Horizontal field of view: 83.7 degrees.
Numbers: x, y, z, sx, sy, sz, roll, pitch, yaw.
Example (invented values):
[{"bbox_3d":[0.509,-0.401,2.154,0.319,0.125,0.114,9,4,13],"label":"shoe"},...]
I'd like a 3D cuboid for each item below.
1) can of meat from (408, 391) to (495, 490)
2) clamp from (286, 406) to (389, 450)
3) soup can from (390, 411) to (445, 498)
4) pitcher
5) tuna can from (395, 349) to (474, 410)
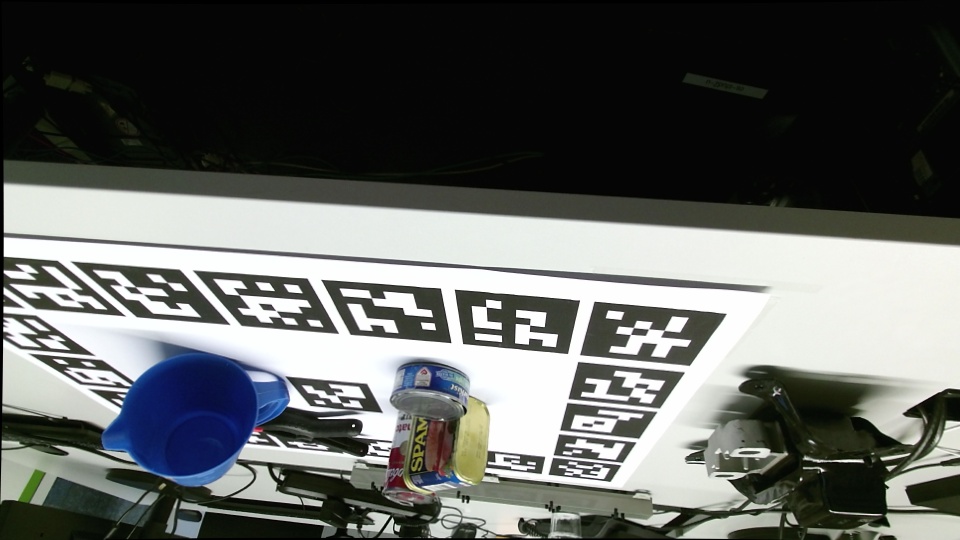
[{"bbox_3d":[-0.032,0.202,0.640,0.084,0.101,0.058,-24,132,31],"label":"can of meat"},{"bbox_3d":[-0.224,0.229,0.789,0.166,0.036,0.122,7,148,6],"label":"clamp"},{"bbox_3d":[-0.075,0.236,0.702,0.068,0.101,0.068,3,141,2],"label":"soup can"},{"bbox_3d":[-0.348,0.204,0.676,0.189,0.132,0.243,-3,156,-23],"label":"pitcher"},{"bbox_3d":[-0.050,0.123,0.599,0.086,0.033,0.086,5,142,4],"label":"tuna can"}]
